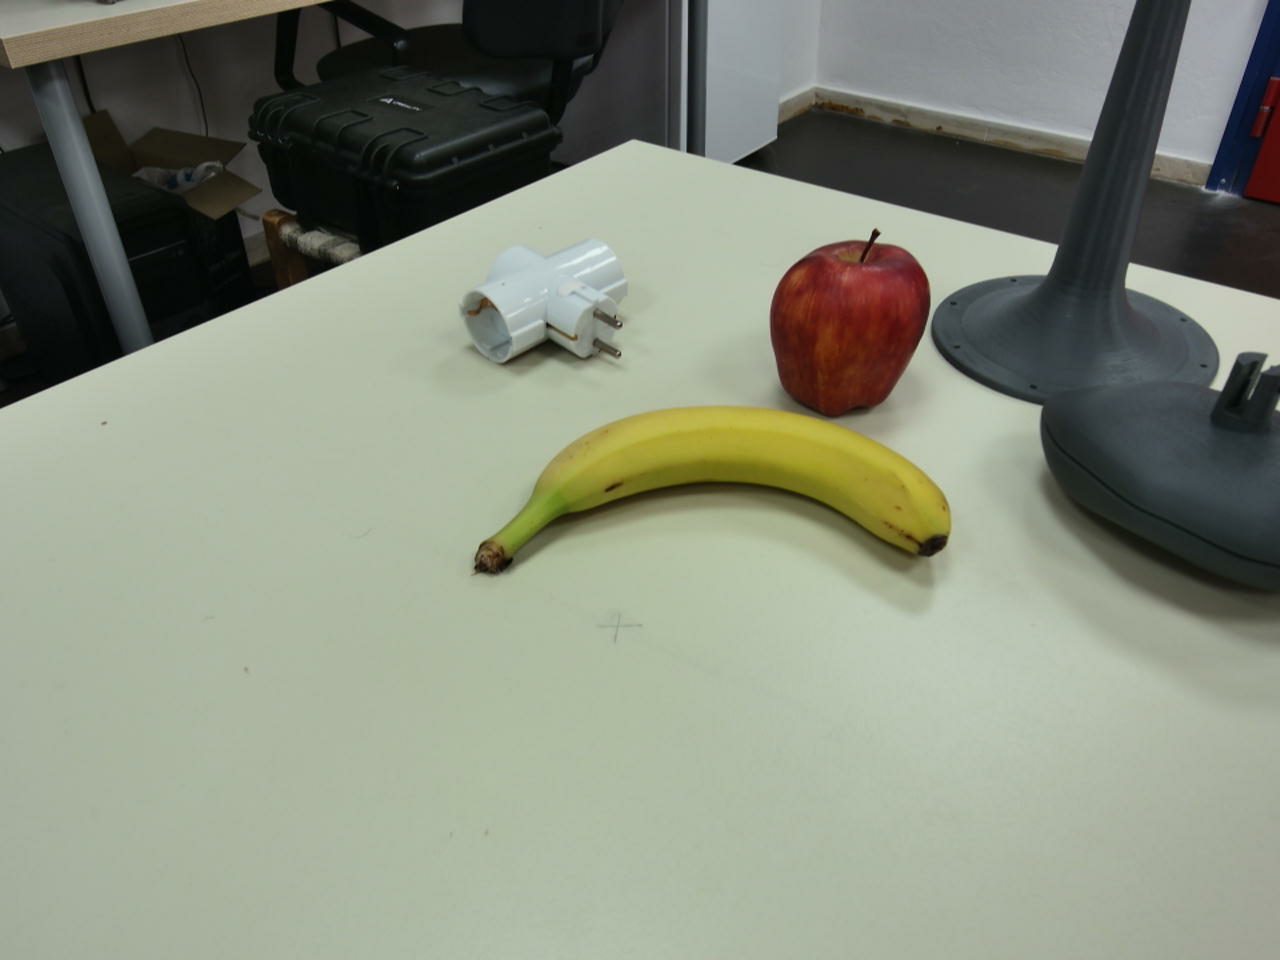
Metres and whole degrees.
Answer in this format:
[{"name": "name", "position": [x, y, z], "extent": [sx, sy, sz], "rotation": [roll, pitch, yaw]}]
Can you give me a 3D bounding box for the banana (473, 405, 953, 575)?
[{"name": "banana", "position": [0.030, 0.000, 0.440], "extent": [0.196, 0.041, 0.094], "rotation": [2, 36, 4]}]
